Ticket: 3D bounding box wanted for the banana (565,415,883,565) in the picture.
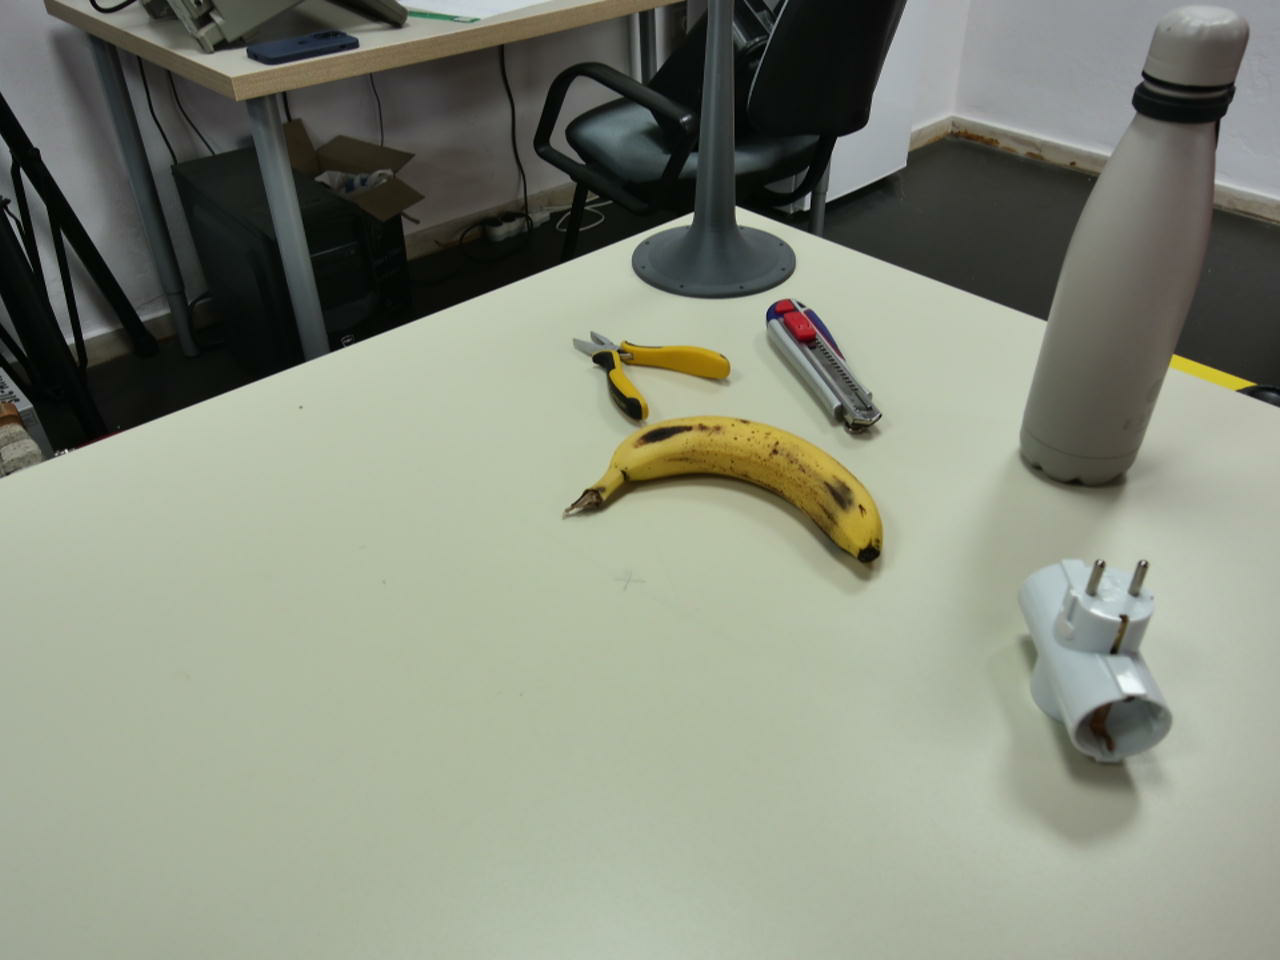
[{"bbox_3d":[0.061,-0.001,0.619,0.186,0.038,0.097,12,38,17],"label":"banana"}]
